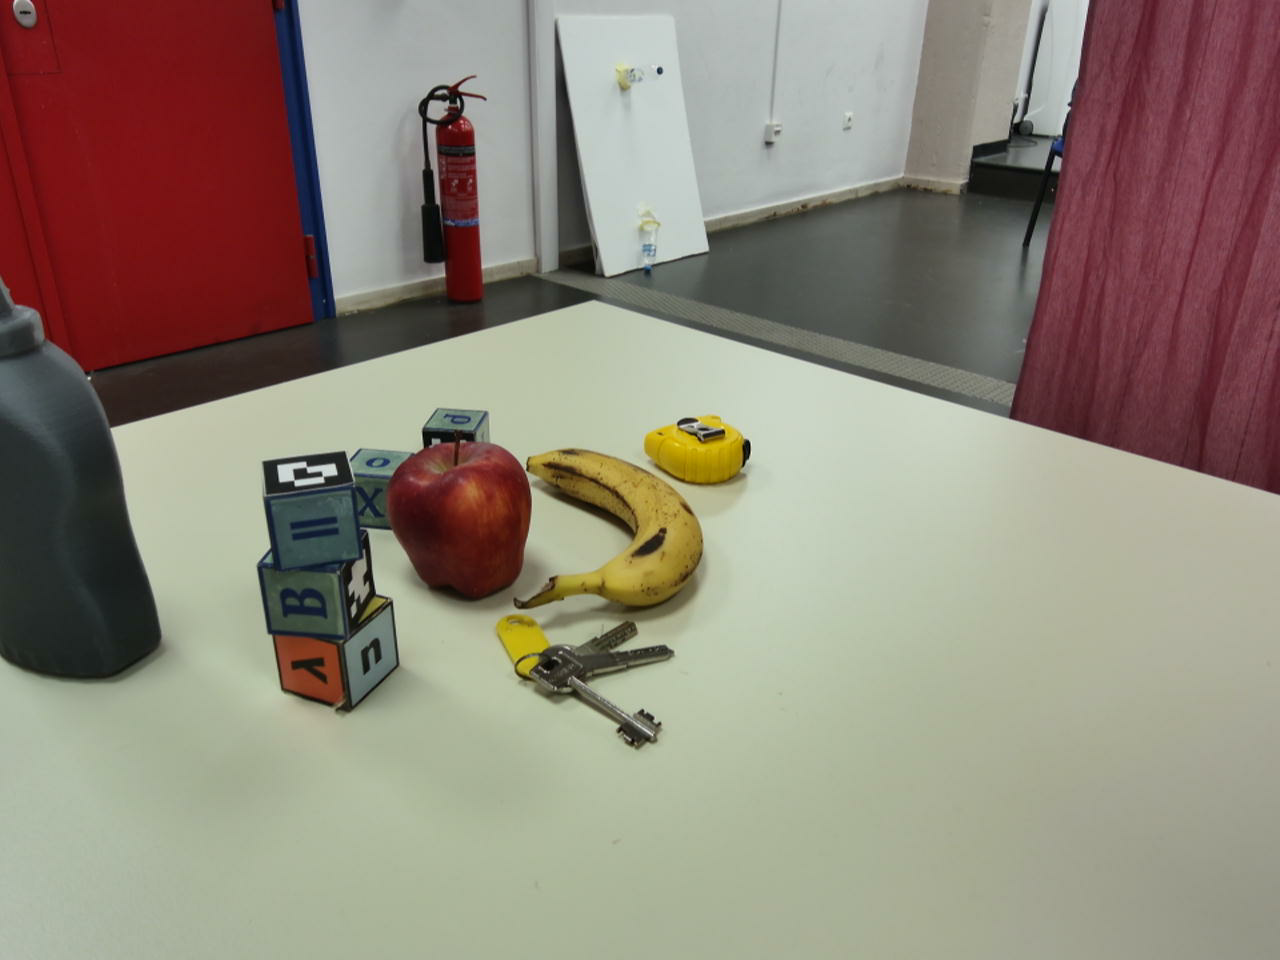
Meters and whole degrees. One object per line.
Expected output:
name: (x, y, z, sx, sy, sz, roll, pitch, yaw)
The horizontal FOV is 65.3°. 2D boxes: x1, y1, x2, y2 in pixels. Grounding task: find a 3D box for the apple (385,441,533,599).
apple: (-0.100, 0.016, 0.556, 0.083, 0.090, 0.083, 2, 25, -1)
